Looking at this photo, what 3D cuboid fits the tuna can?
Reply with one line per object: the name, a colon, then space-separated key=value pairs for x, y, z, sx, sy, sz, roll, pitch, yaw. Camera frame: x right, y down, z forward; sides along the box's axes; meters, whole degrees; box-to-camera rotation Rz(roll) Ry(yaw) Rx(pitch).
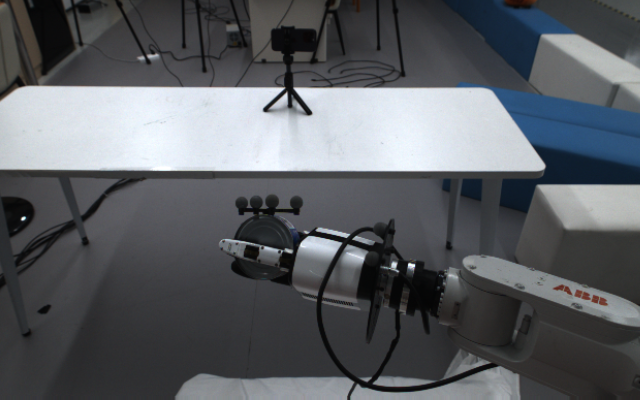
tuna can: x=-0.068 y=0.061 z=0.643 sx=0.085 sy=0.085 sz=0.034 roll=15 pitch=1 yaw=18
